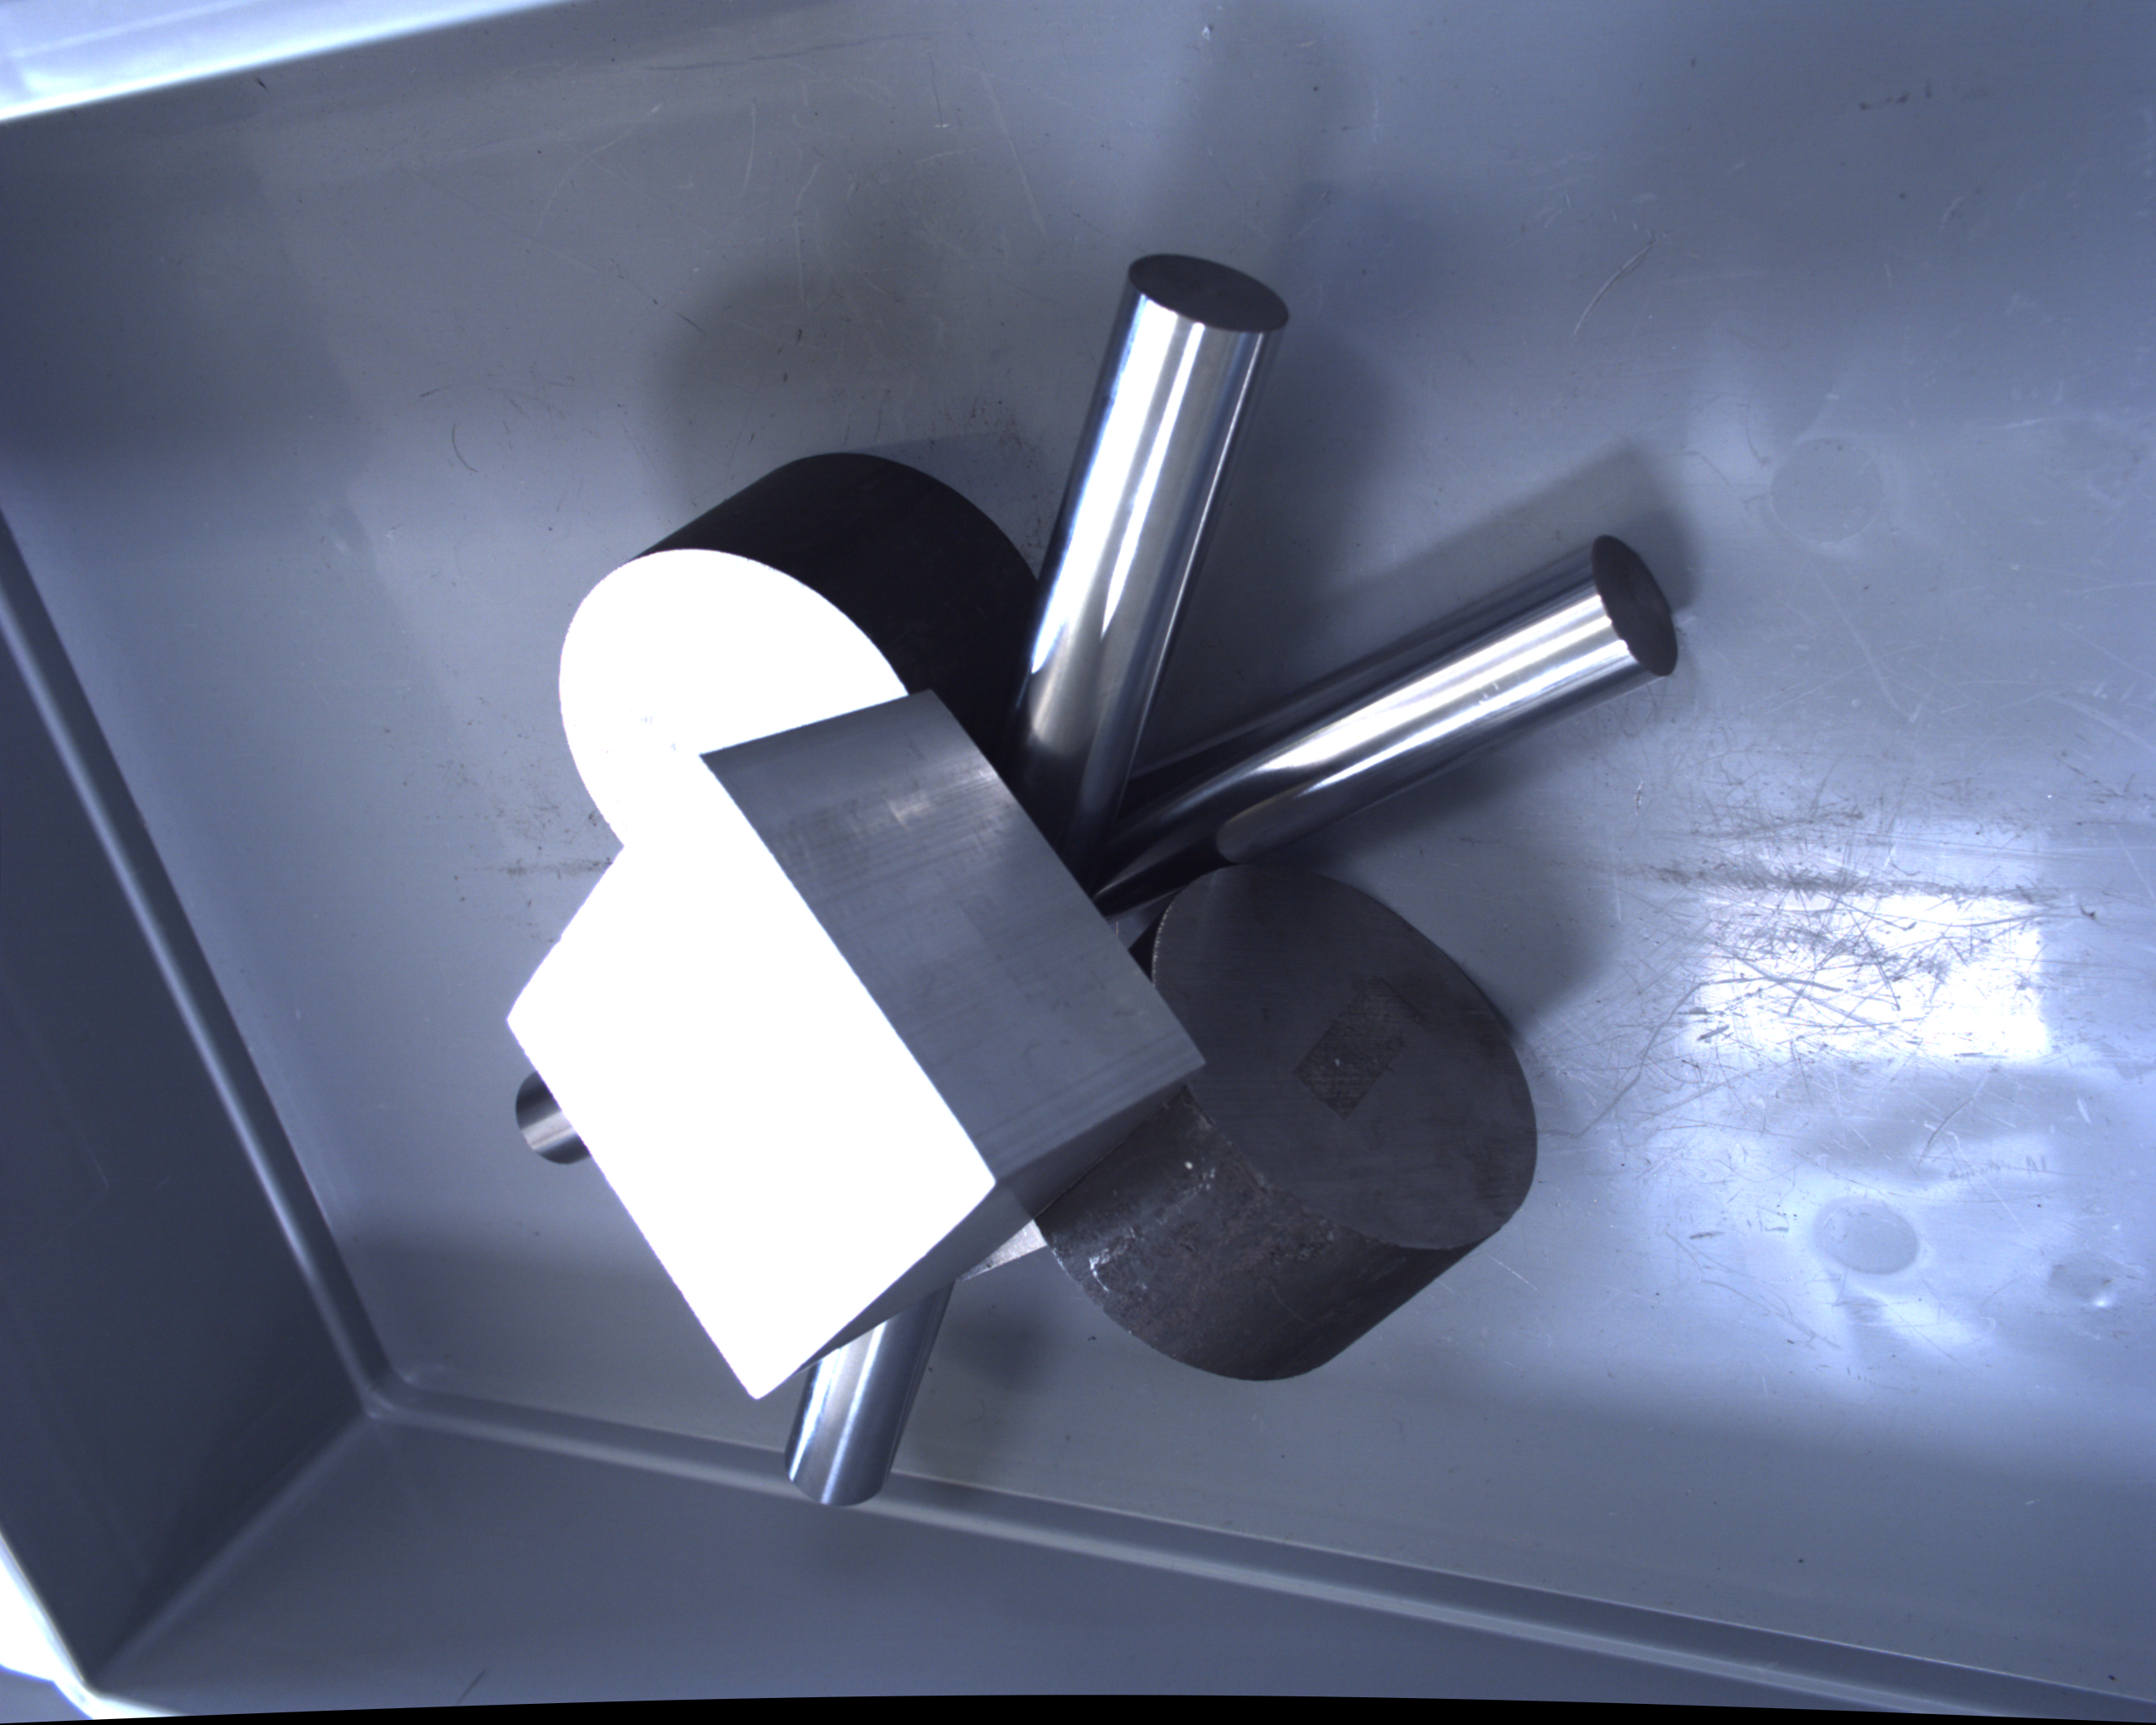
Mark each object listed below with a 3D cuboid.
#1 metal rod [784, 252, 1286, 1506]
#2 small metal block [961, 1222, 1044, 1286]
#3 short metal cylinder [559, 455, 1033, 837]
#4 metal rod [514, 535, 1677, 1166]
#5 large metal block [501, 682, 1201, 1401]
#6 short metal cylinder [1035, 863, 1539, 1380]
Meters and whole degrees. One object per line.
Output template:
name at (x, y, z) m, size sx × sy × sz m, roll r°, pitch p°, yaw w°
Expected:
metal rod at (-0.019, 0.027, 0.401) m, size 0.025 × 0.025 × 0.298 m, roll 27°, pitch 128°, yaw 11°
small metal block at (-0.018, 0.058, 0.452) m, size 0.050 × 0.025 × 0.050 m, roll -31°, pitch 101°, yaw 38°
short metal cylinder at (-0.050, -0.031, 0.397) m, size 0.080 × 0.050 × 0.079 m, roll 13°, pitch 124°, yaw 21°
metal rod at (-0.019, 0.011, 0.423) m, size 0.299 × 0.025 × 0.025 m, roll -26°, pitch 105°, yaw 37°
large metal block at (-0.040, 0.030, 0.348) m, size 0.080 × 0.050 × 0.080 m, roll 54°, pitch 131°, yaw 12°
short metal cylinder at (0.036, 0.047, 0.381) m, size 0.080 × 0.080 × 0.050 m, roll 40°, pitch 130°, yaw 1°
